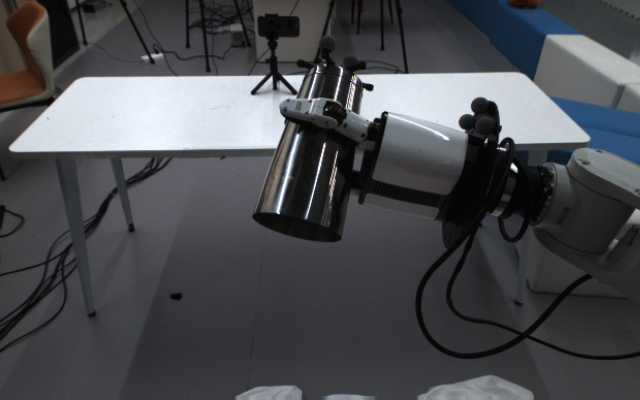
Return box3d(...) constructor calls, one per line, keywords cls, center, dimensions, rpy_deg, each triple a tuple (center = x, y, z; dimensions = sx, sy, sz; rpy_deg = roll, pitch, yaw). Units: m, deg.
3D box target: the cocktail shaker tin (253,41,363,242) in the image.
box3d(cls="cocktail shaker tin", center=(-0.004, -0.050, 0.506), dimensions=(0.093, 0.093, 0.170), rpy_deg=(11, 73, 12))
